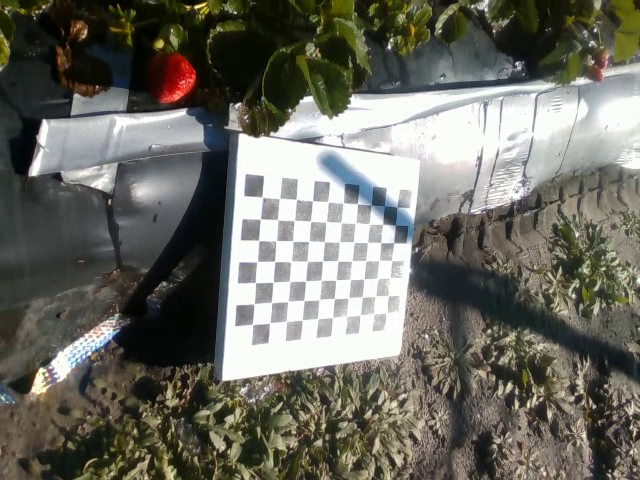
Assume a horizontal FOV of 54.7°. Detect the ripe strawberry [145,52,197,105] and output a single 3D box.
[{"bbox_3d":[-0.150,-0.158,0.639,0.058,0.065,0.061,-30,-49,21],"label":"ripe strawberry"}]
